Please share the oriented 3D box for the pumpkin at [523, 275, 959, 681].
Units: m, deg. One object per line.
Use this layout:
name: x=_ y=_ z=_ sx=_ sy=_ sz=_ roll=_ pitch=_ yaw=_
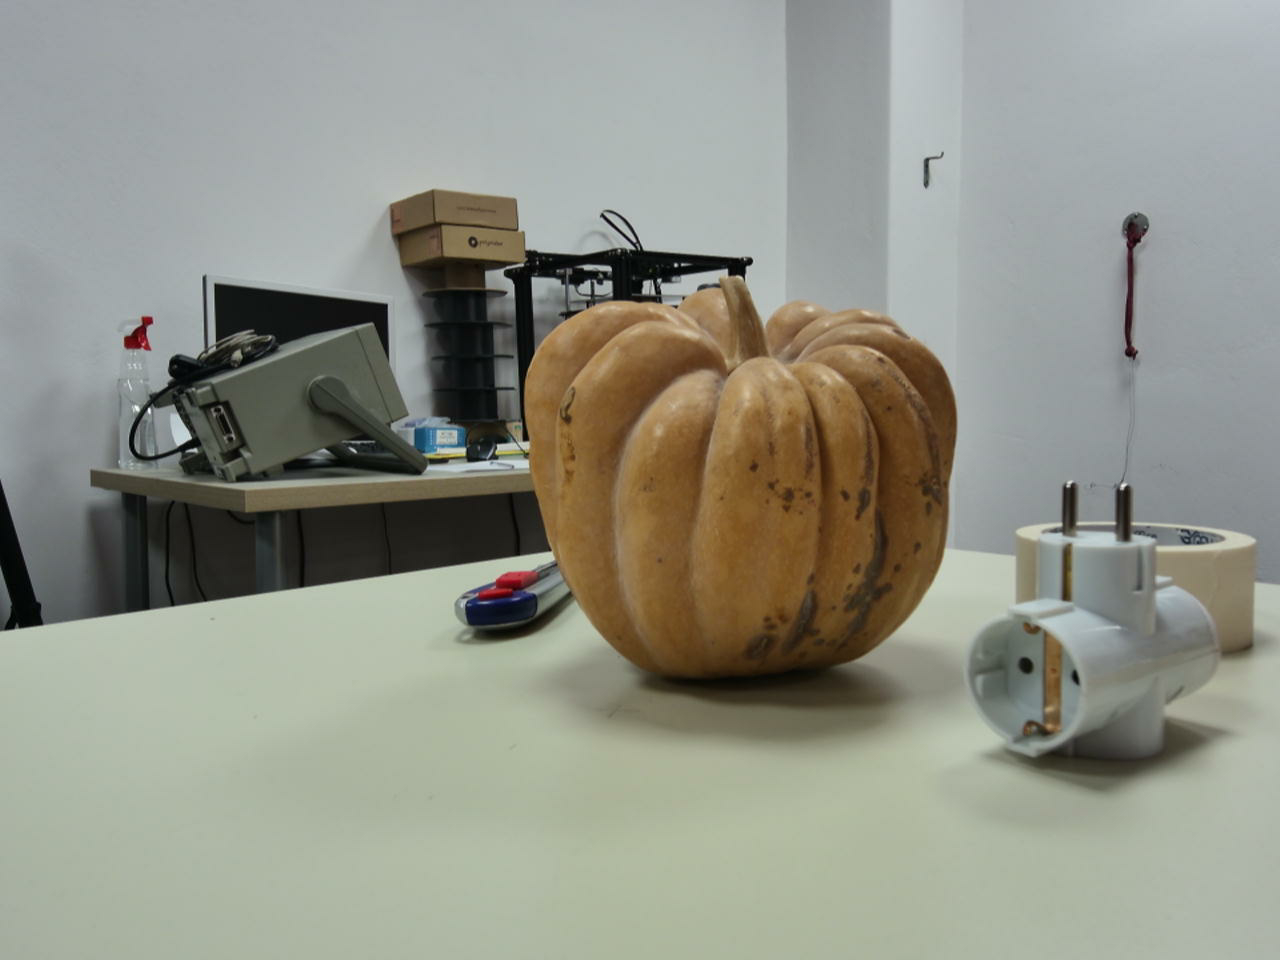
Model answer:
pumpkin: x=0.046 y=-0.001 z=0.459 sx=0.199 sy=0.177 sz=0.198 roll=0 pitch=3 yaw=0
